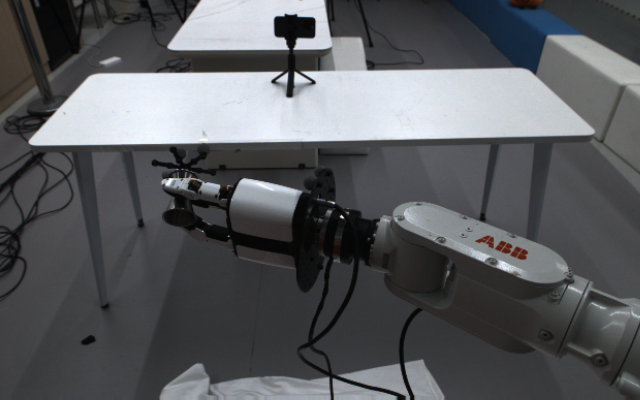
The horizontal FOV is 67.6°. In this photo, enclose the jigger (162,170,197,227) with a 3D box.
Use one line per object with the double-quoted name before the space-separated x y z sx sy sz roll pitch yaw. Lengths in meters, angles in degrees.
"jigger" -0.188 -0.003 0.659 0.043 0.043 0.071 -3 57 -7
